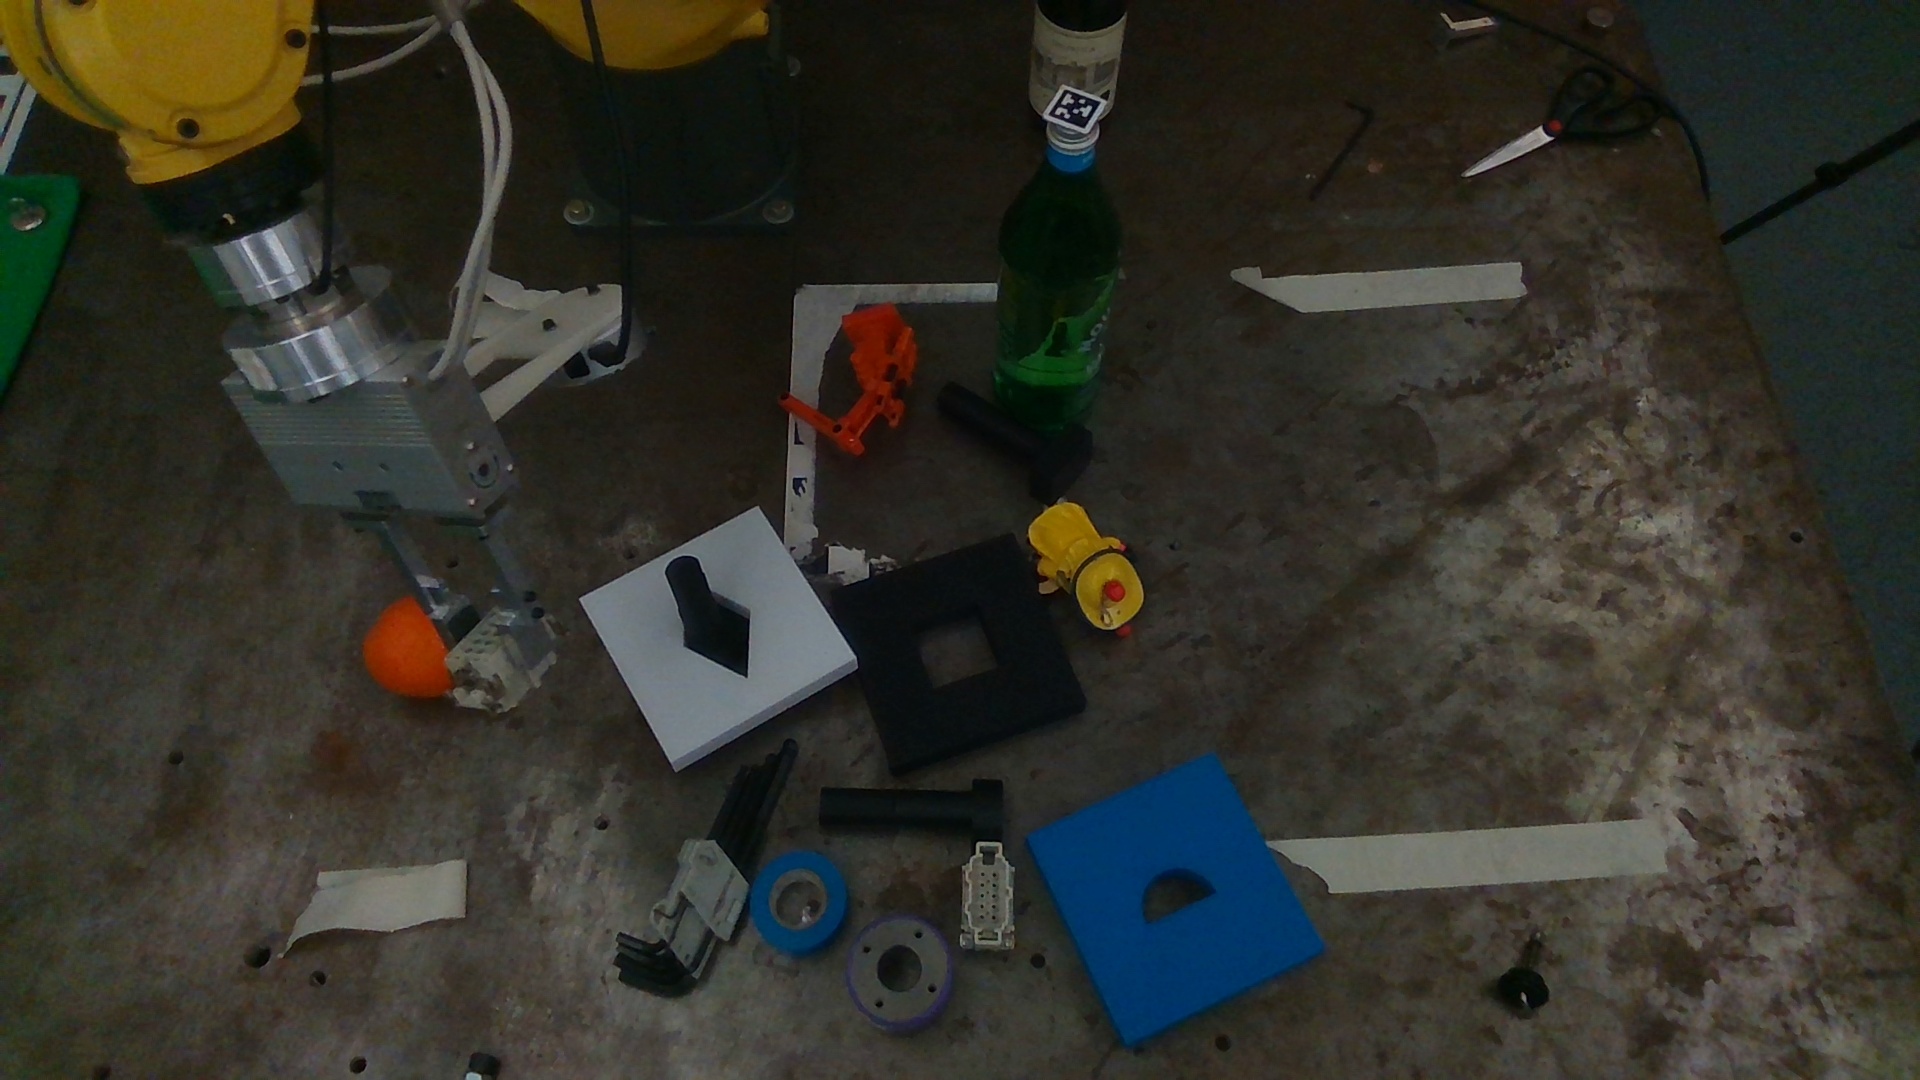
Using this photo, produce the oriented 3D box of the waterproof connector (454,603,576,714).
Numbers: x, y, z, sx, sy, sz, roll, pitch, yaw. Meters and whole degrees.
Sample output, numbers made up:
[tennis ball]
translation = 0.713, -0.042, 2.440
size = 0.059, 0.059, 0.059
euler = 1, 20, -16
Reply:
[waterproof connector]
translation = -0.239, 0.064, 0.750
size = 0.037, 0.038, 0.069
euler = 2, 38, 30
